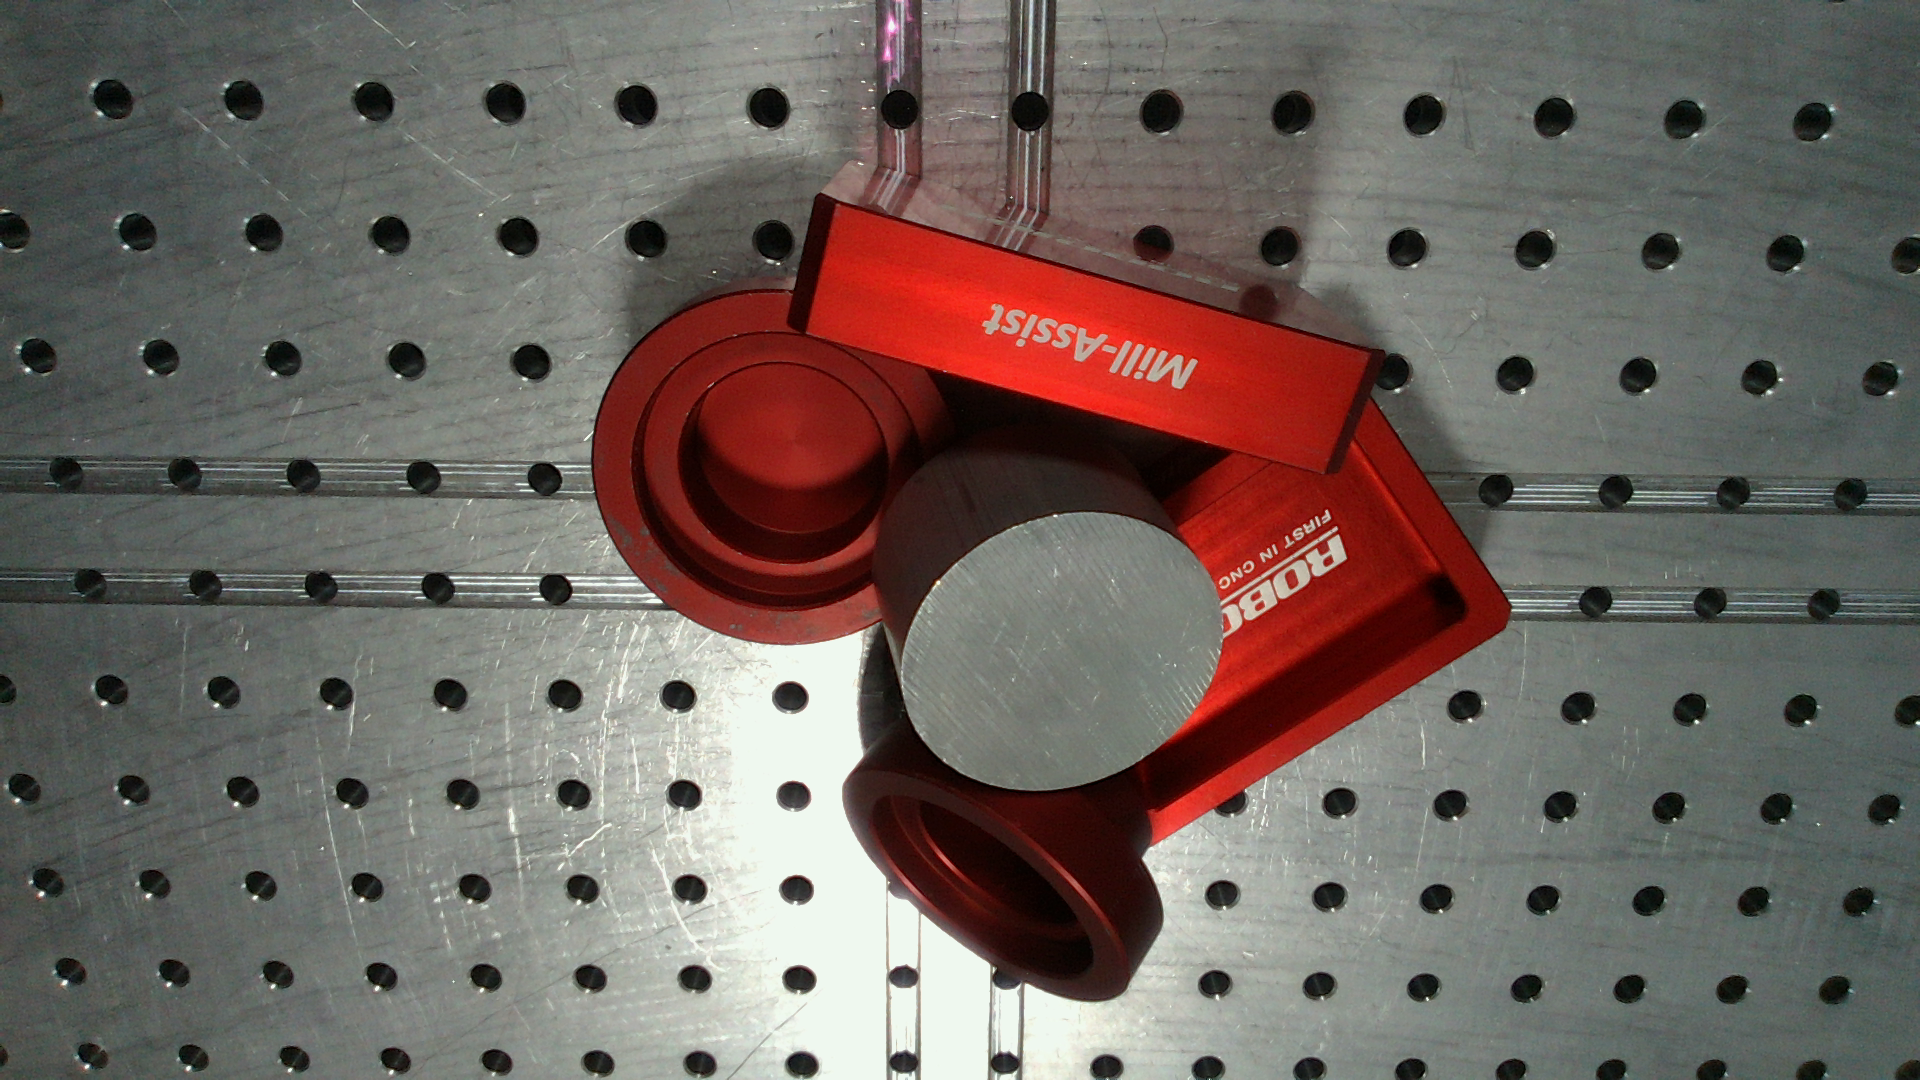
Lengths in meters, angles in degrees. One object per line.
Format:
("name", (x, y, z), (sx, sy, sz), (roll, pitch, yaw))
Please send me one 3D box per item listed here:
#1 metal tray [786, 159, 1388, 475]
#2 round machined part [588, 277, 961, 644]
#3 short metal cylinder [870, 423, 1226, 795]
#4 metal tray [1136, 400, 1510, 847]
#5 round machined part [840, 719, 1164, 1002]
("metal tray", (0.028, -0.058, 0.340), (0.130, 0.090, 0.030), (14, 110, -5))
("round machined part", (-0.048, -0.024, 0.378), (0.098, 0.042, 0.098), (0, 110, 0))
("short metal cylinder", (0.020, 0.017, 0.350), (0.080, 0.050, 0.080), (-6, 120, -10))
("metal tray", (0.078, 0.020, 0.401), (0.130, 0.030, 0.090), (-35, 107, 12))
("round machined part", (0.017, 0.086, 0.400), (0.098, 0.042, 0.098), (27, 146, 21))
